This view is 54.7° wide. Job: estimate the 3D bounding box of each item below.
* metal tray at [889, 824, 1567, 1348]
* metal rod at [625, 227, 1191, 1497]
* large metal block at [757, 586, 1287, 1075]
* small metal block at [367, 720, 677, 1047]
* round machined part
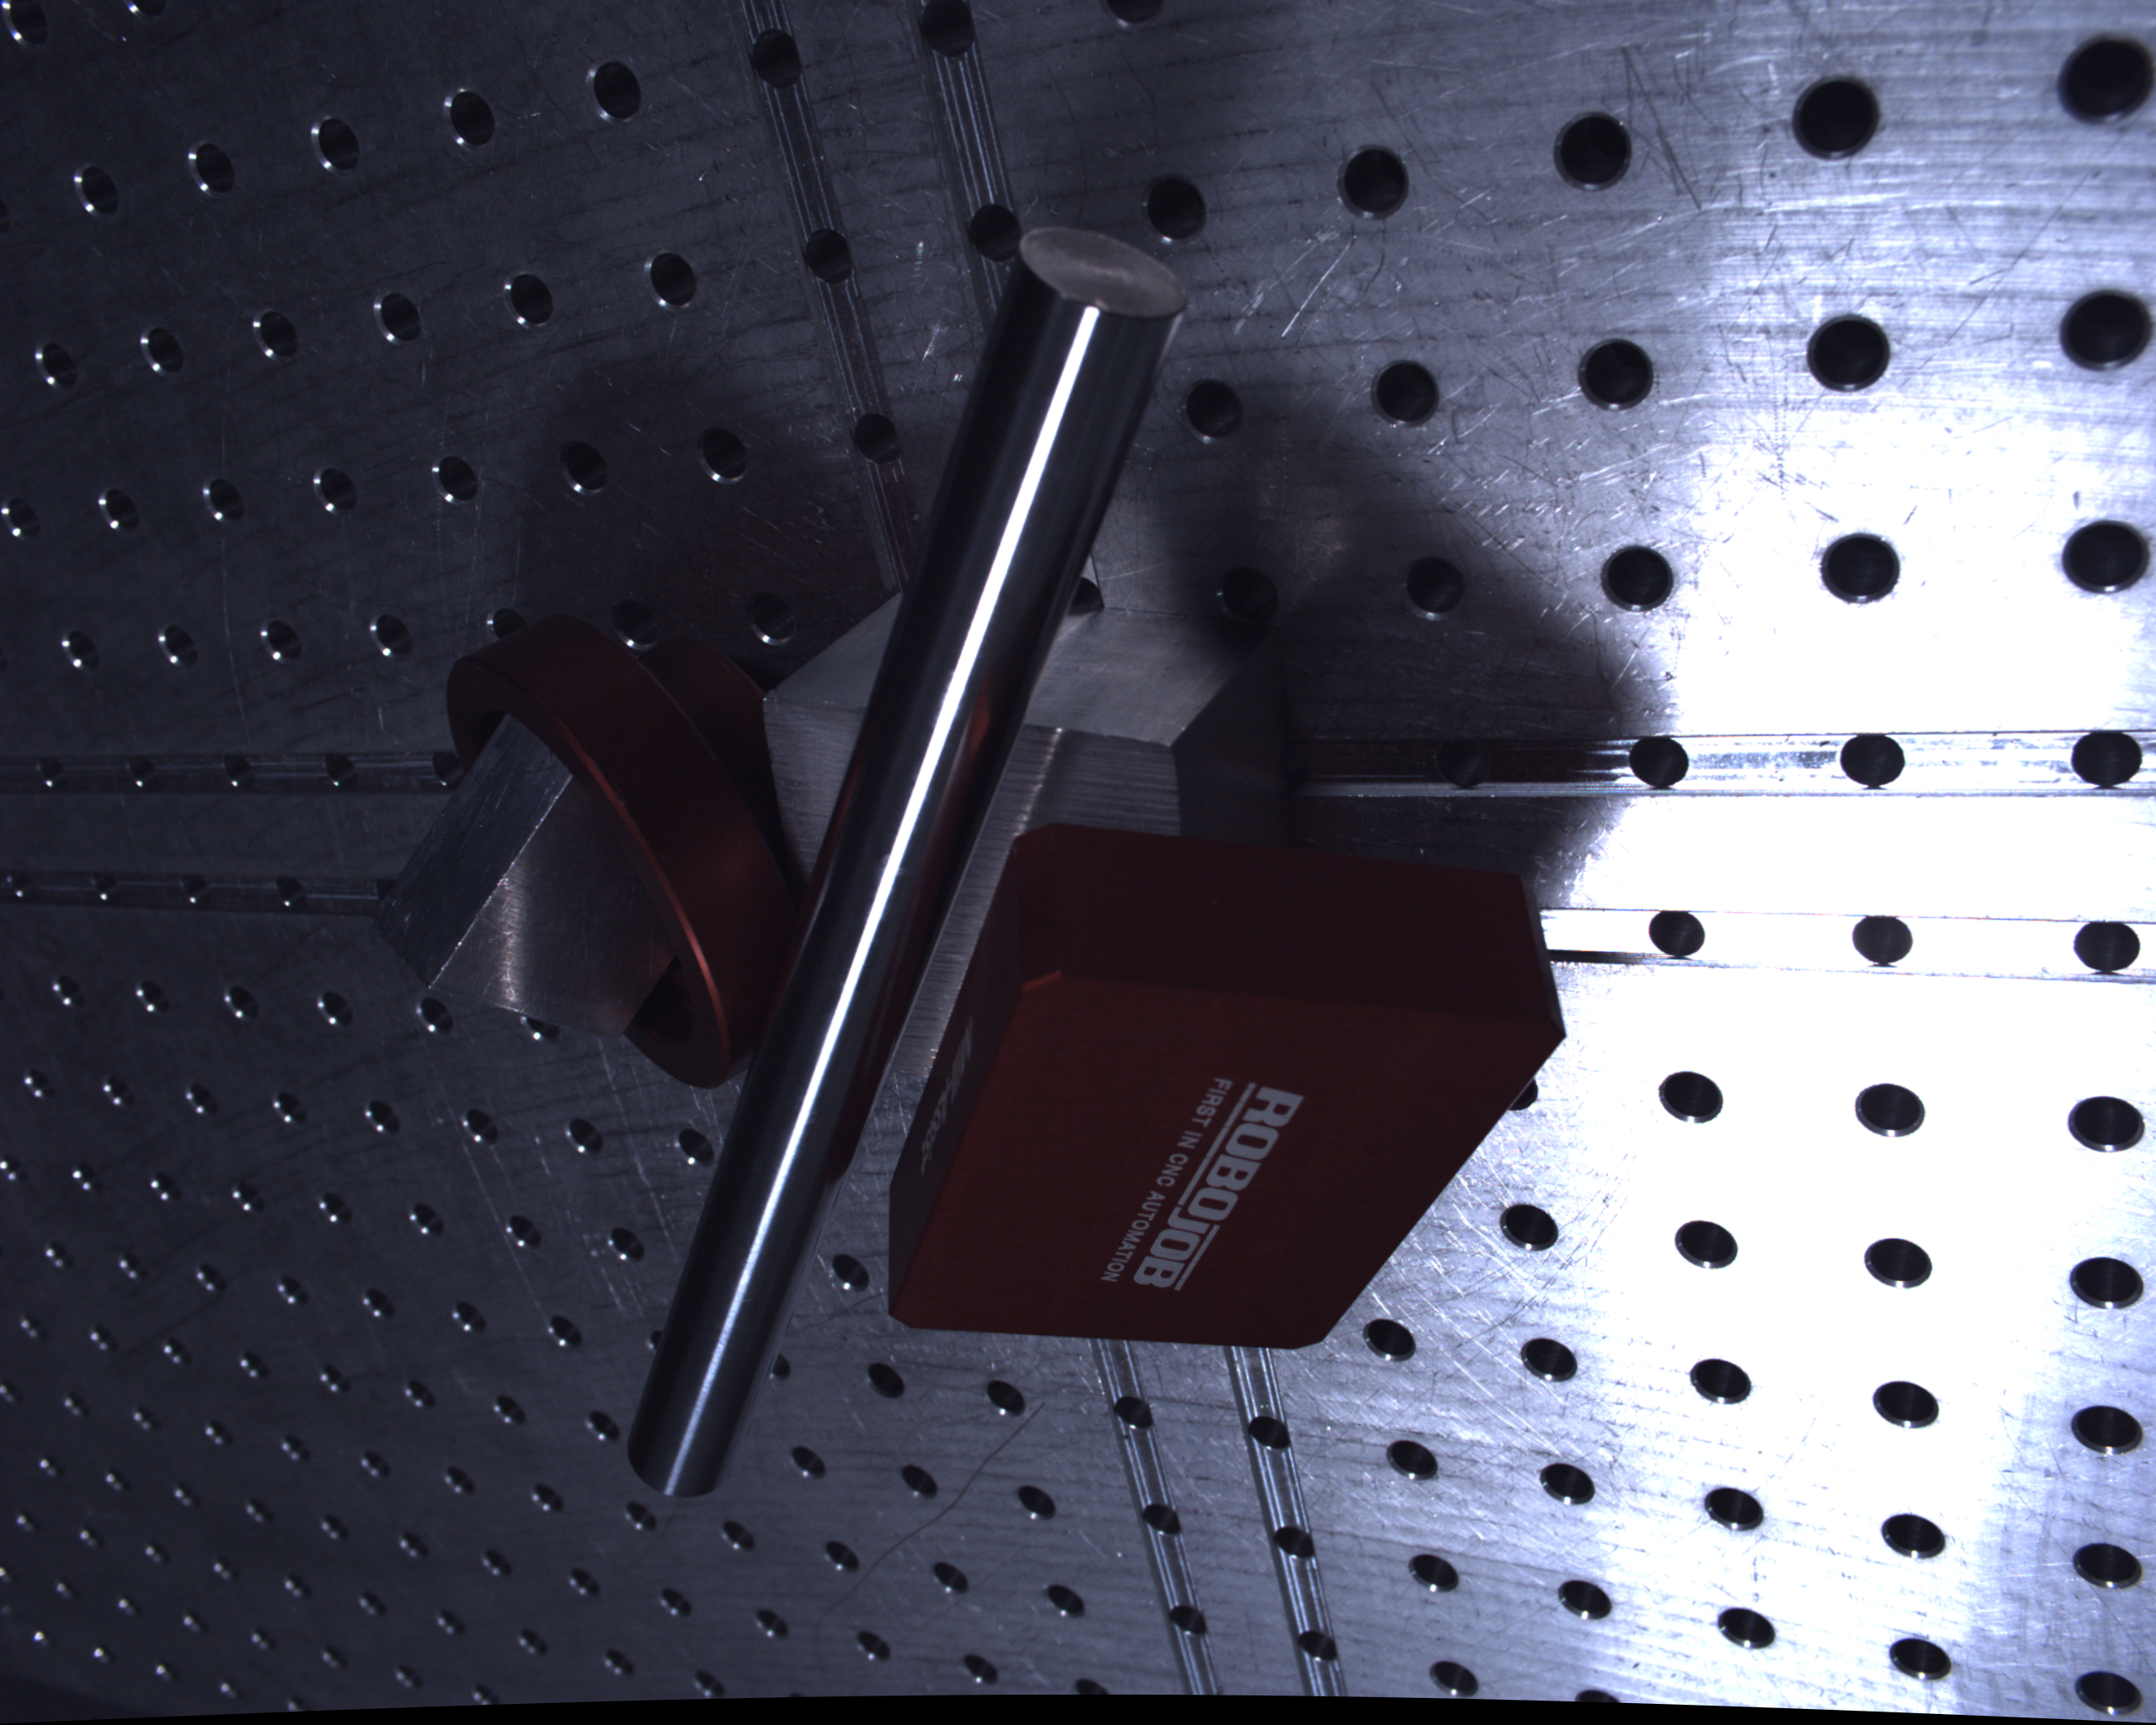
[{"bbox_3d":[0.020,0.047,0.382,0.091,0.030,0.129,6,143,-13],"label":"metal tray"},{"bbox_3d":[-0.043,0.025,0.383,0.025,0.025,0.298,30,128,8],"label":"metal rod"},{"bbox_3d":[-0.007,-0.003,0.395,0.080,0.050,0.079,9,122,23],"label":"large metal block"},{"bbox_3d":[-0.102,0.004,0.413,0.025,0.050,0.050,38,95,35],"label":"small metal block"},{"bbox_3d":[-0.083,-0.006,0.421,0.098,0.042,0.097,37,145,32],"label":"round machined part"}]
